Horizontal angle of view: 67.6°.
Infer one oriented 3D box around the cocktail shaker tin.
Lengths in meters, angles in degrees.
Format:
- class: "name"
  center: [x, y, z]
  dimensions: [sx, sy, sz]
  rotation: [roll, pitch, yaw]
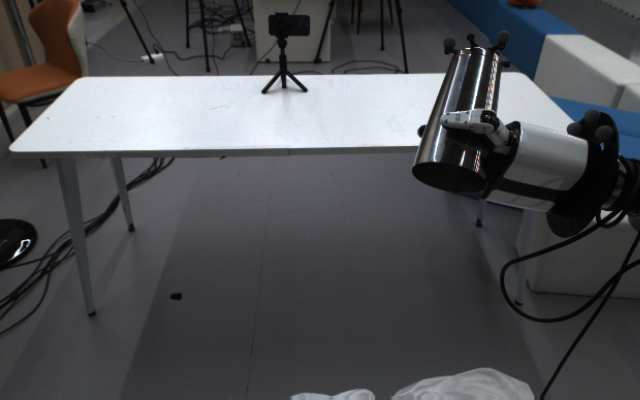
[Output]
- class: "cocktail shaker tin"
  center: [0.183, -0.104, 0.617]
  dimensions: [0.093, 0.093, 0.170]
  rotation: [13, 74, 15]
